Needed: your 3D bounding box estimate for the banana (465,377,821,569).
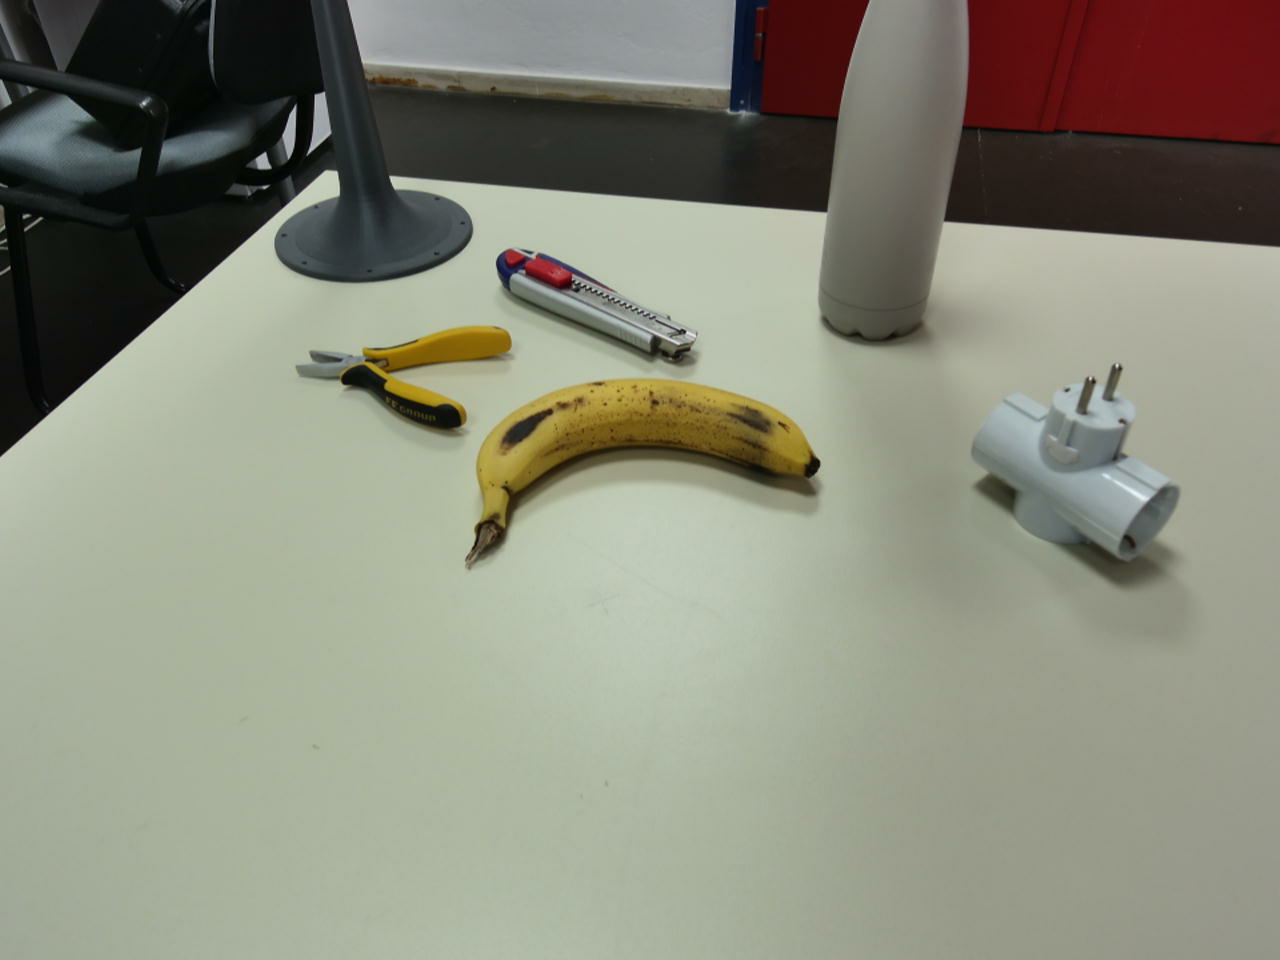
[{"bbox_3d":[-0.004,-0.020,0.547,0.186,0.038,0.097,-9,40,-12],"label":"banana"}]
